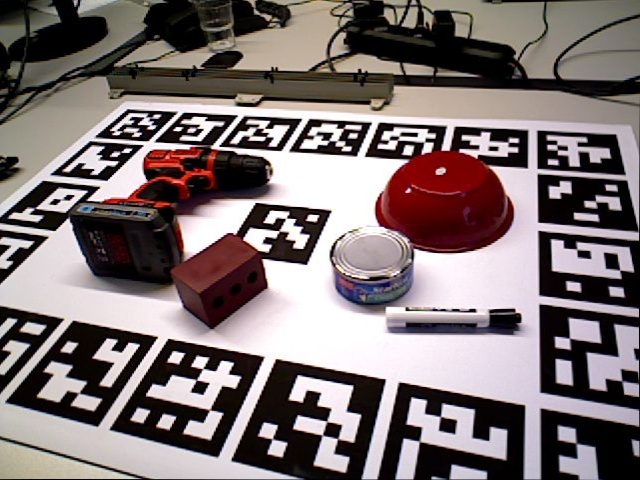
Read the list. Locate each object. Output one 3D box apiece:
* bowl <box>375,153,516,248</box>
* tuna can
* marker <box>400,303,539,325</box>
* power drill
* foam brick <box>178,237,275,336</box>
[{"bbox_3d":[0.142,-0.056,0.624,0.161,0.056,0.159,-6,32,3],"label":"bowl"},{"bbox_3d":[0.063,0.021,0.545,0.085,0.034,0.084,-3,41,2],"label":"tuna can"},{"bbox_3d":[0.133,0.067,0.490,0.121,0.020,0.019,-1,42,8],"label":"marker"},{"bbox_3d":[-0.175,-0.040,0.645,0.185,0.058,0.183,7,39,12],"label":"power drill"},{"bbox_3d":[-0.091,0.045,0.538,0.051,0.054,0.076,25,51,31],"label":"foam brick"}]
